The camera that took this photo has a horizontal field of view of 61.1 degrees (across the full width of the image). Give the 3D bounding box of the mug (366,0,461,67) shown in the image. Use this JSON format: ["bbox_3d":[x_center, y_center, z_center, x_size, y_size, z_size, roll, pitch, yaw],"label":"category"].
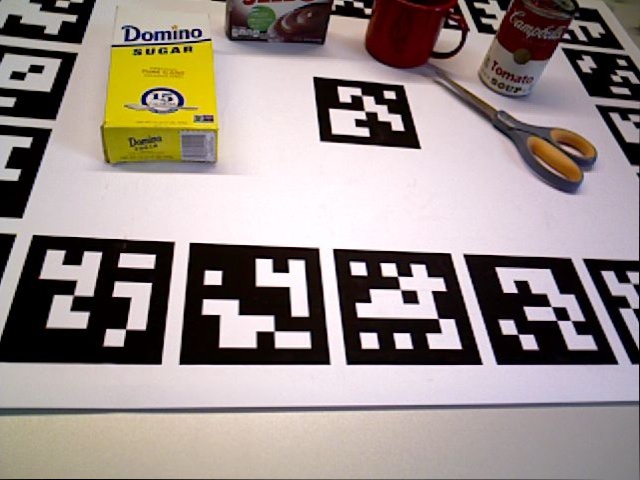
[{"bbox_3d":[0.105,-0.242,0.600,0.091,0.083,0.117,-32,65,-27],"label":"mug"}]

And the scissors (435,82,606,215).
[{"bbox_3d":[0.201,-0.110,0.565,0.202,0.016,0.086,42,67,16],"label":"scissors"}]

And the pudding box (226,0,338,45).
[{"bbox_3d":[-0.038,-0.253,0.567,0.112,0.092,0.038,-5,62,-16],"label":"pudding box"}]

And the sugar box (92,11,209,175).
[{"bbox_3d":[-0.151,-0.139,0.498,0.092,0.046,0.174,-1,57,-11],"label":"sugar box"}]

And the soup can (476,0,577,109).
[{"bbox_3d":[0.222,-0.206,0.596,0.067,0.104,0.067,5,52,-8],"label":"soup can"}]
